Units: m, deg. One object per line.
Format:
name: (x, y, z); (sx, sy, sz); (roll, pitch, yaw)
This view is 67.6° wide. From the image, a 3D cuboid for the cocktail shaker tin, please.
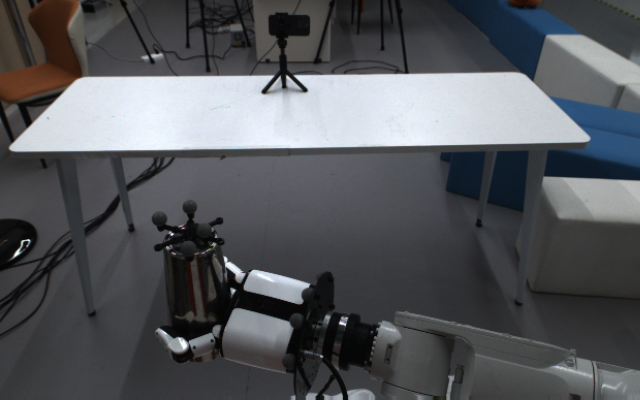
cocktail shaker tin: (-0.156, 0.116, 0.620); (0.093, 0.170, 0.093); (2, 34, -1)
